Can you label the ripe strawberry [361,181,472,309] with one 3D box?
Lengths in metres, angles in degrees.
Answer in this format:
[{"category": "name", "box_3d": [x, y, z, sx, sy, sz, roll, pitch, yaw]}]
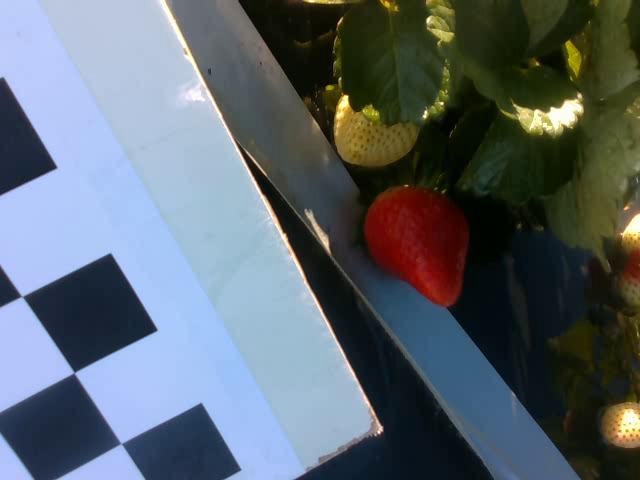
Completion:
[{"category": "ripe strawberry", "box_3d": [0.038, 0.002, 0.233, 0.045, 0.049, 0.064, -3, 39, -9]}]
